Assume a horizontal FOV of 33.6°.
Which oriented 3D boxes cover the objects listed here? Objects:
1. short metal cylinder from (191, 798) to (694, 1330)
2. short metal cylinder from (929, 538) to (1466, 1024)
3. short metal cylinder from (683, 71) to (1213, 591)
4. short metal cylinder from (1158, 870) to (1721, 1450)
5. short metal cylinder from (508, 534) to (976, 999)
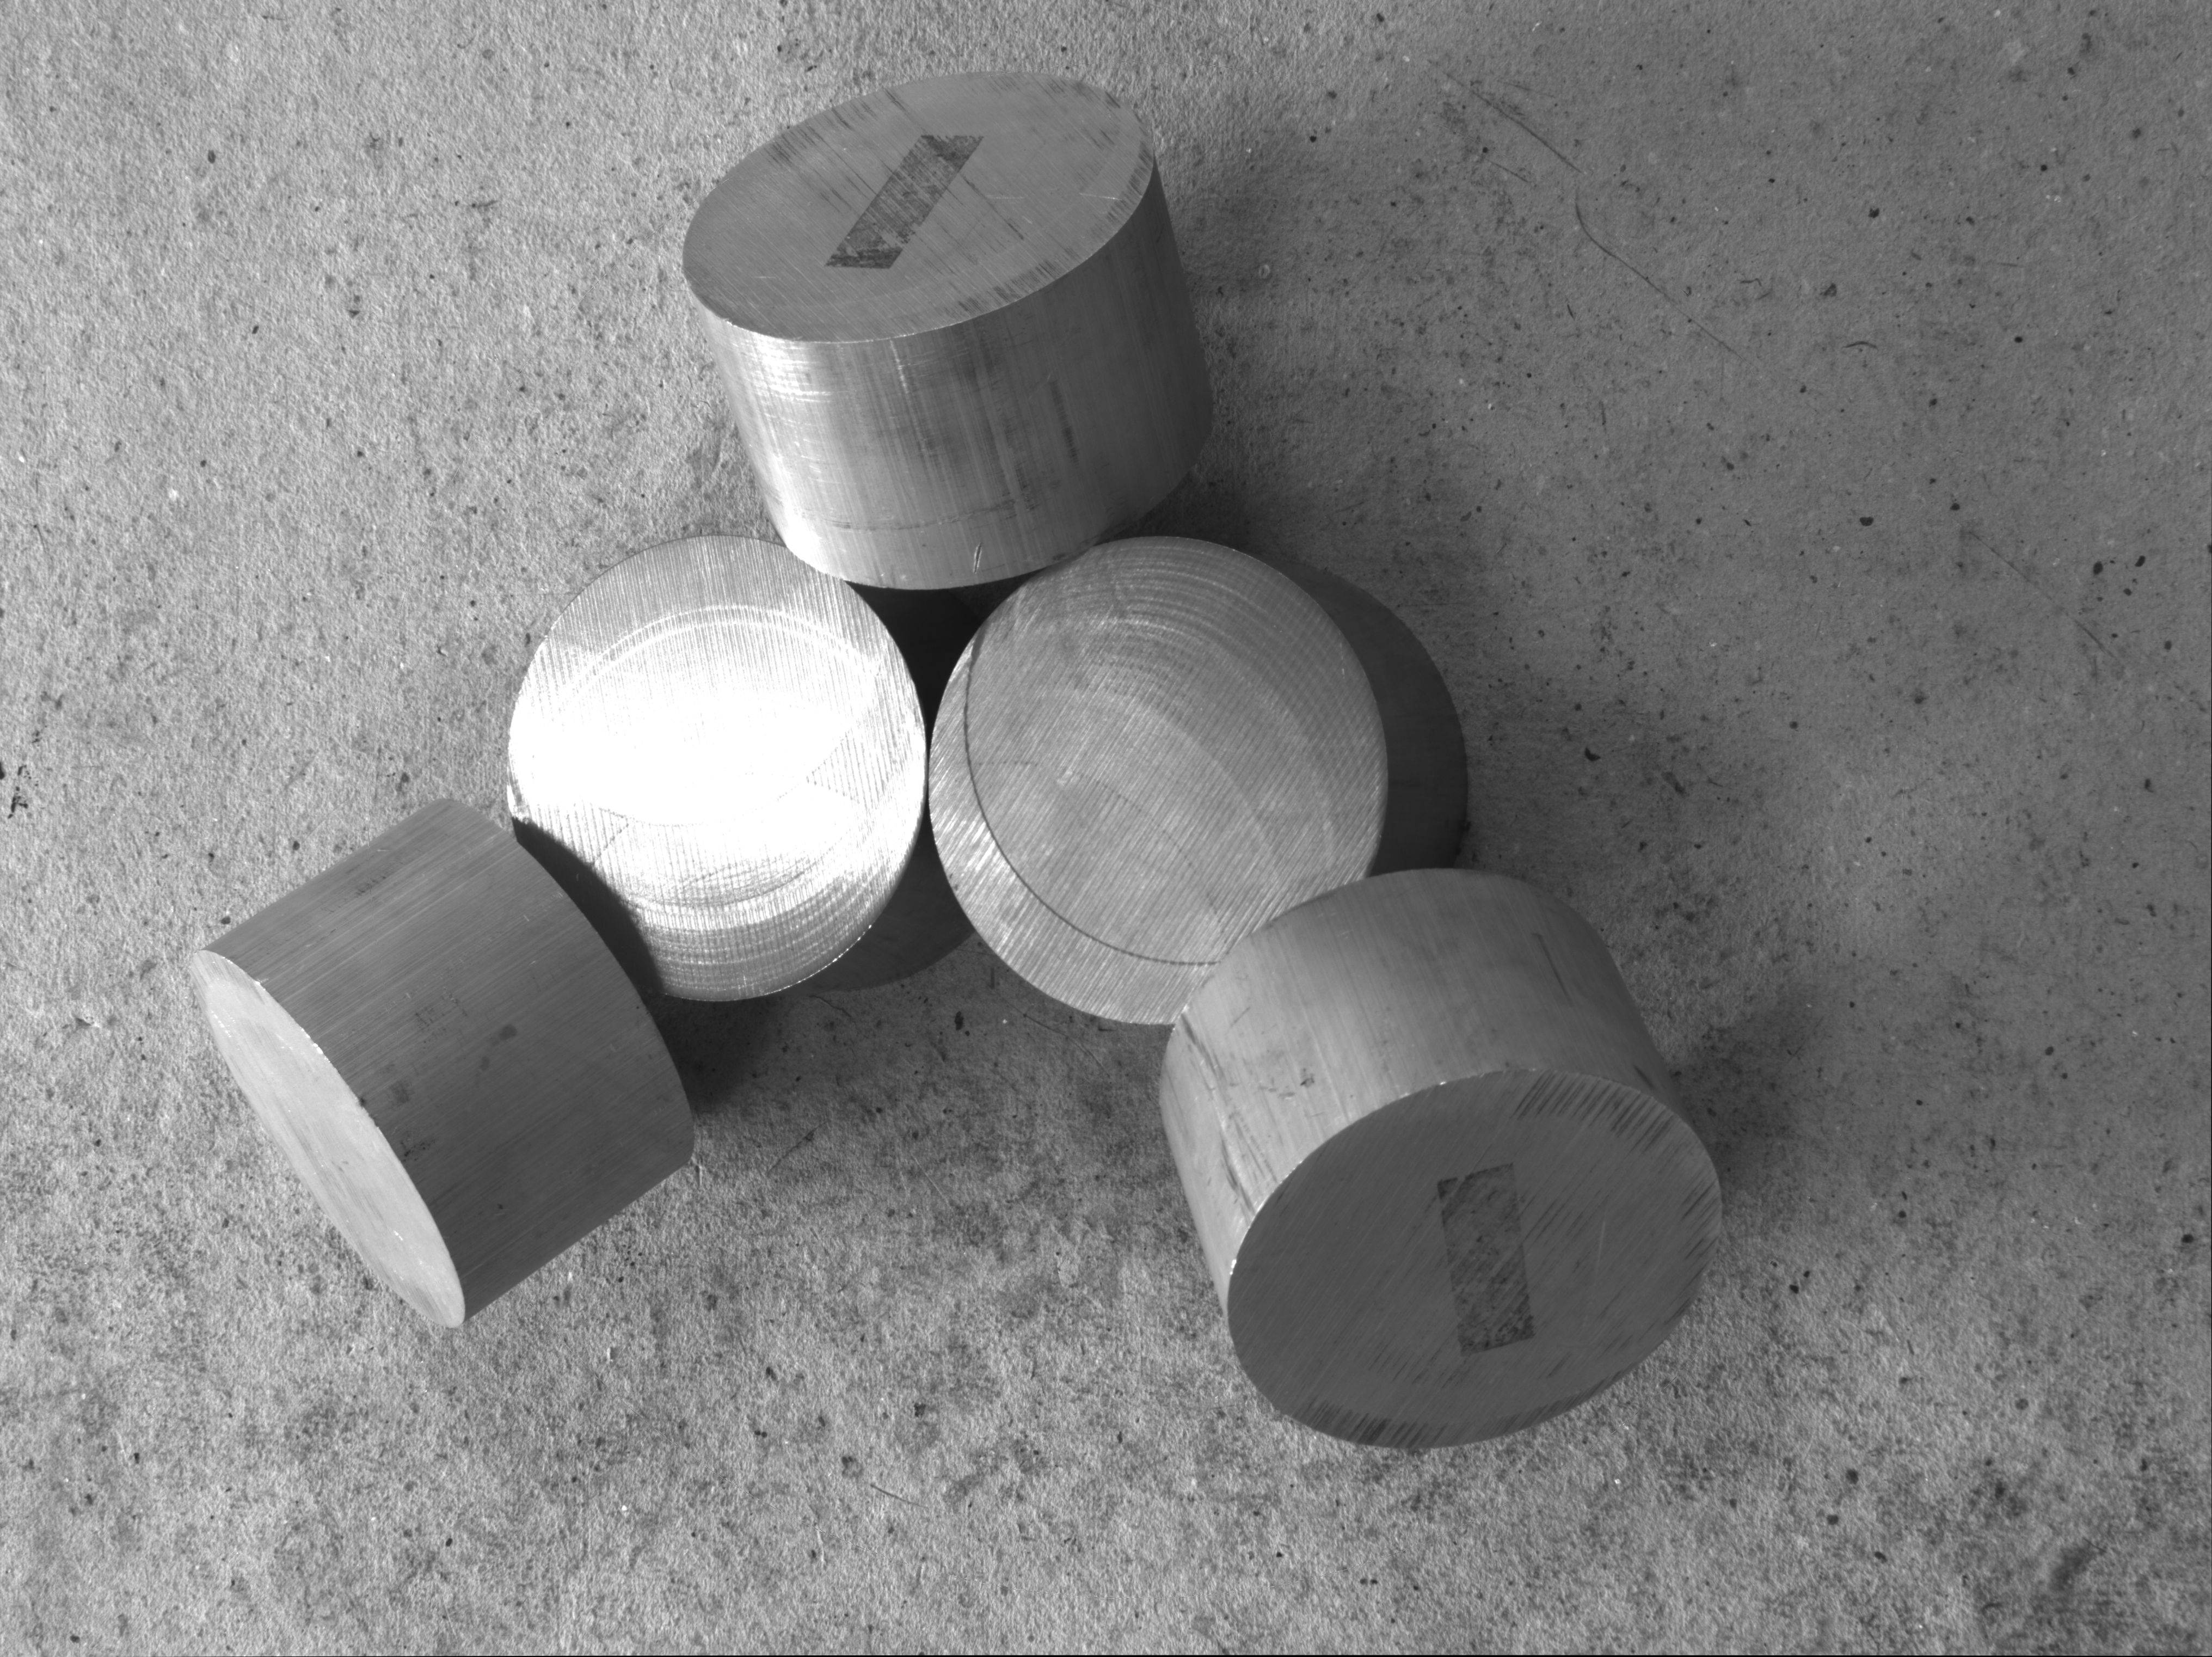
[{"bbox_3d":[-0.118,0.042,0.653,0.050,0.080,0.080,-35,75,-24],"label":"short metal cylinder"},{"bbox_3d":[0.016,-0.008,0.627,0.080,0.050,0.080,0,89,20],"label":"short metal cylinder"},{"bbox_3d":[-0.026,-0.085,0.620,0.080,0.080,0.050,2,133,20],"label":"short metal cylinder"},{"bbox_3d":[0.053,0.054,0.591,0.080,0.080,0.050,-39,36,16],"label":"short metal cylinder"},{"bbox_3d":[-0.059,-0.010,0.654,0.080,0.050,0.080,0,89,20],"label":"short metal cylinder"}]
